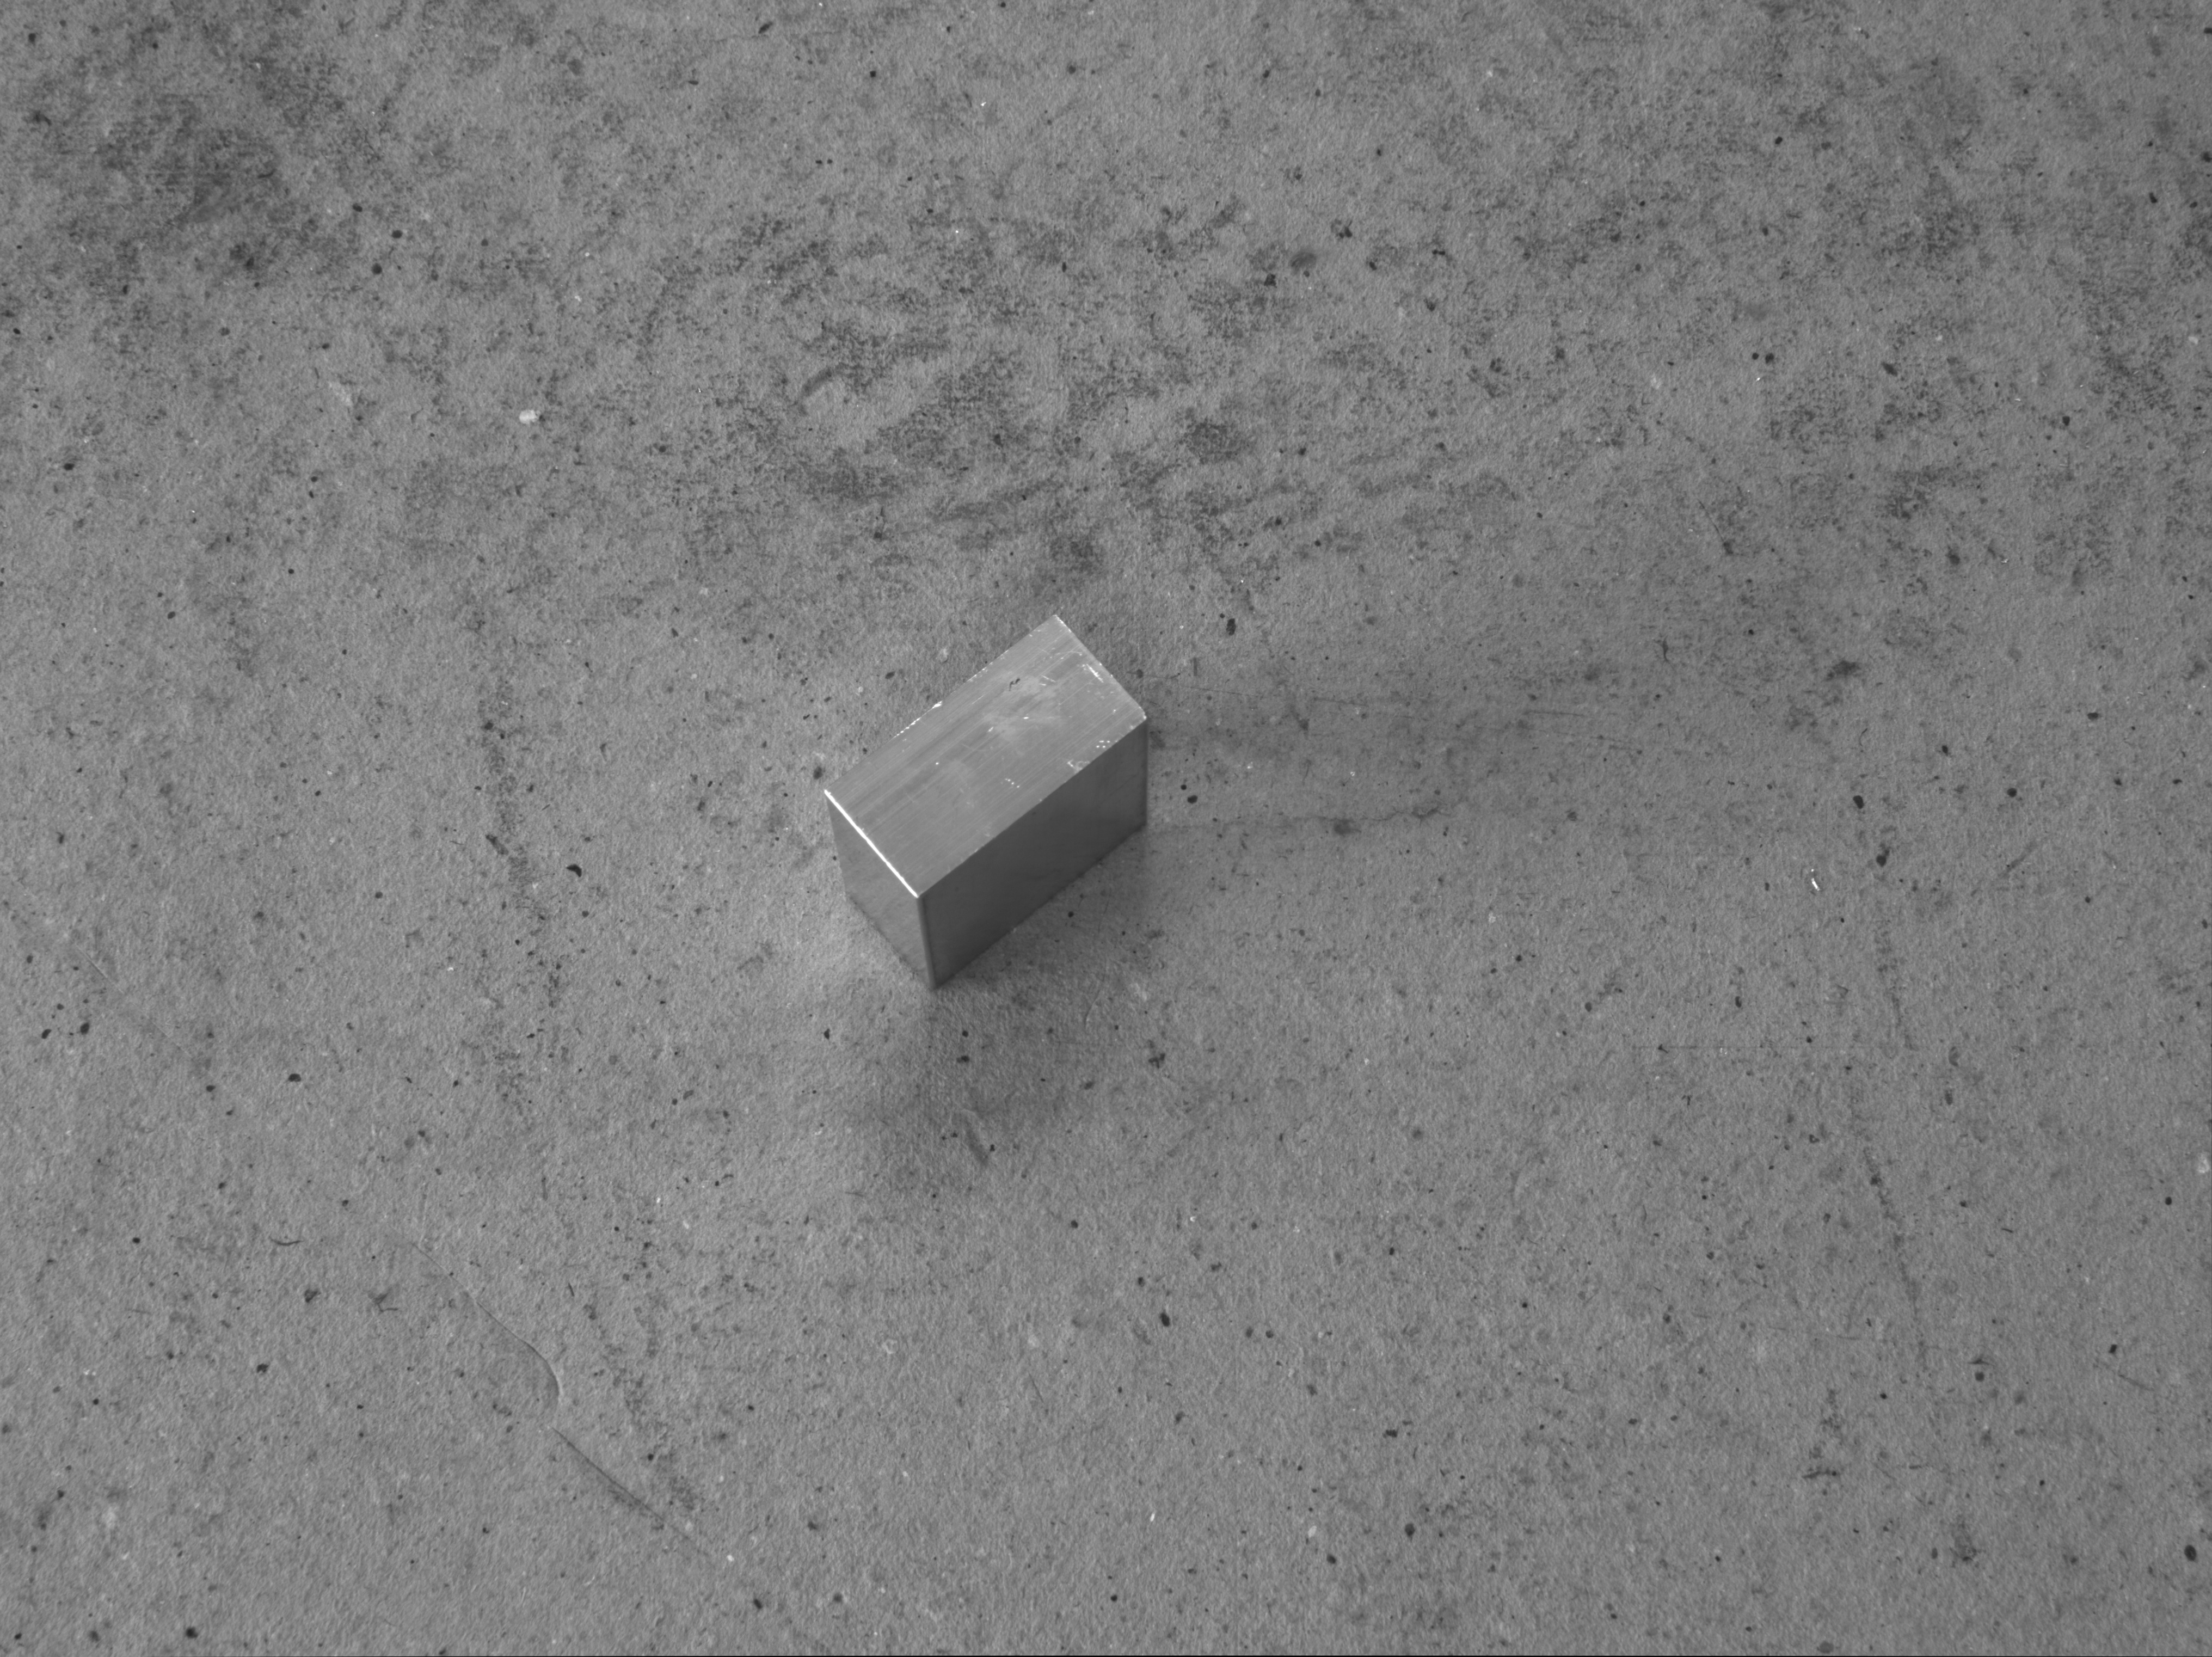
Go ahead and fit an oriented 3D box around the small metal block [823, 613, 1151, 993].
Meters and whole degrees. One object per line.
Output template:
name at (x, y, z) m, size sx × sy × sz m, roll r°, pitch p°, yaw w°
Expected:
small metal block at (-0.020, -0.004, 0.634) m, size 0.050 × 0.050 × 0.025 m, roll -38°, pitch 74°, yaw -13°
